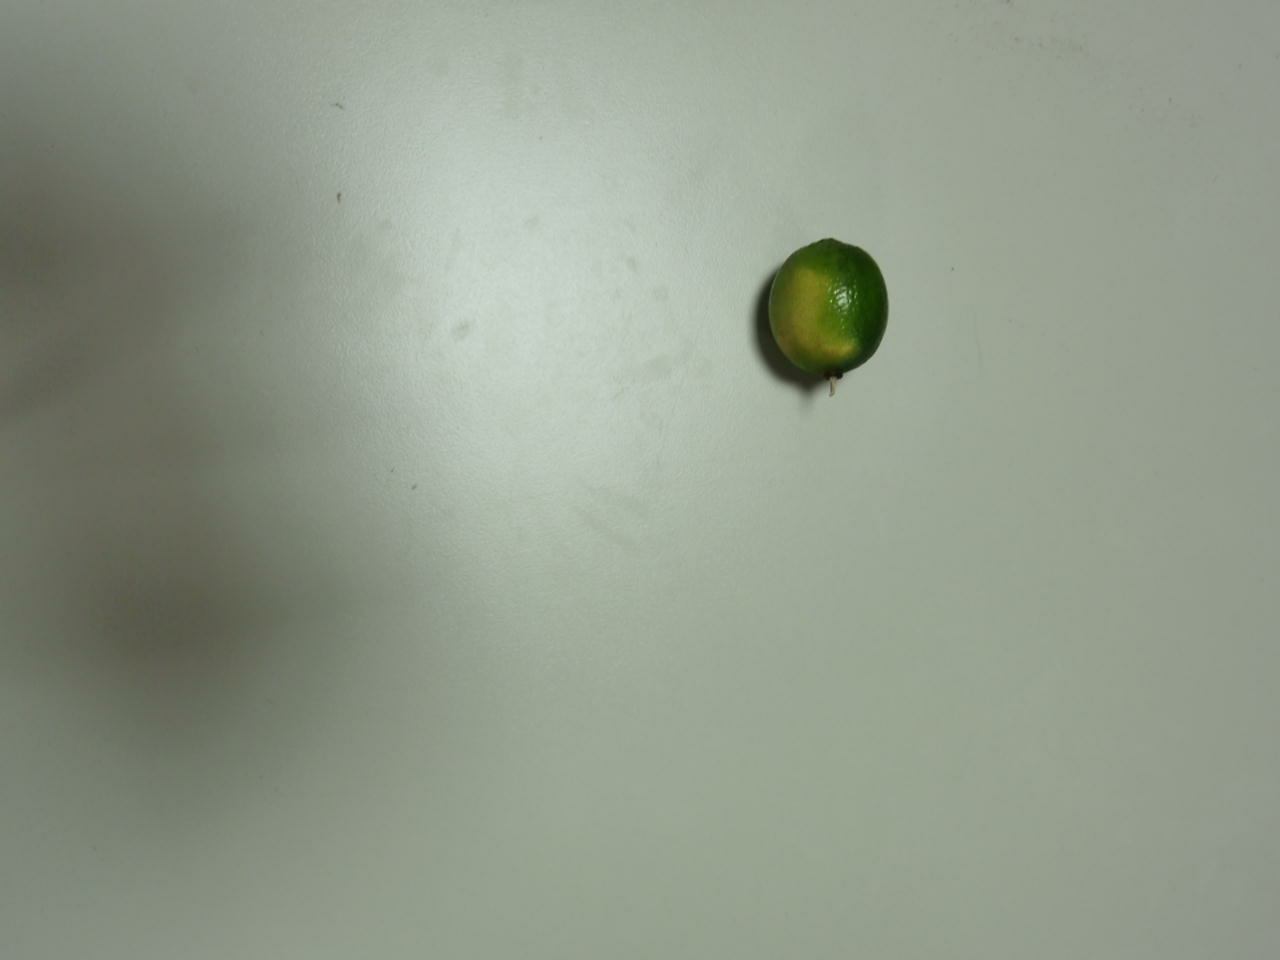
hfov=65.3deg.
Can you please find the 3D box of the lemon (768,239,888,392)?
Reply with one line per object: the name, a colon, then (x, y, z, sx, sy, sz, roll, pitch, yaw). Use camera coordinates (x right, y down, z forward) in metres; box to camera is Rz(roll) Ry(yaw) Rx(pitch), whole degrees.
lemon: (0.081, -0.074, 0.430, 0.054, 0.050, 0.055, 41, 83, -9)
